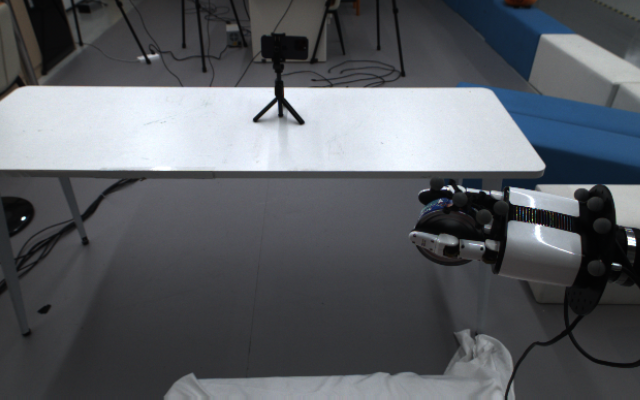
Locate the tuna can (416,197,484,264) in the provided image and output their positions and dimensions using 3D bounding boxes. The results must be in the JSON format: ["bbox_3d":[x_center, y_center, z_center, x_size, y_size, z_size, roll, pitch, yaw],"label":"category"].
[{"bbox_3d":[0.167,0.037,0.614,0.085,0.085,0.034,12,33,14],"label":"tuna can"}]
